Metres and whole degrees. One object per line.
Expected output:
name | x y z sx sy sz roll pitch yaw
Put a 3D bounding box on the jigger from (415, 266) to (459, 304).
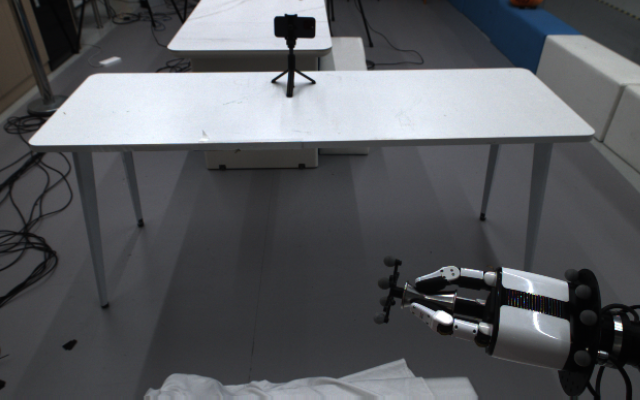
jigger | 0.154 0.132 0.657 0.071 0.043 0.043 11 36 16
